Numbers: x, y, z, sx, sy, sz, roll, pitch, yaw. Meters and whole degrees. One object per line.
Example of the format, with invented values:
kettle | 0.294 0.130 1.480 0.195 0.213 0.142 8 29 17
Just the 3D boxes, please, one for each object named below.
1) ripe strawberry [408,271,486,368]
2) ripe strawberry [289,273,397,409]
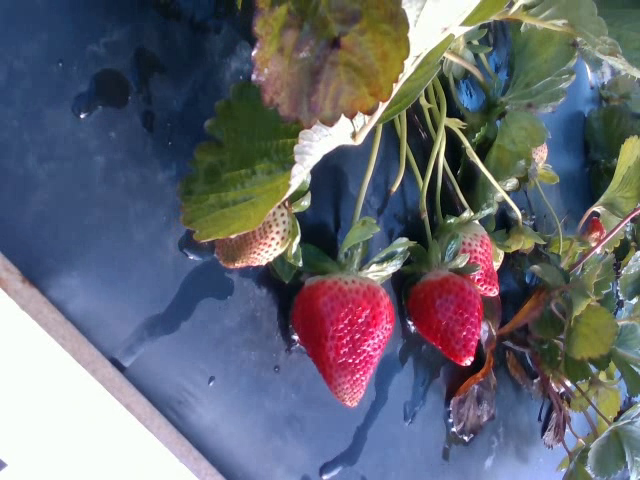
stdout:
ripe strawberry | 0.069 0.045 0.321 0.044 0.055 0.042 -9 -28 -14
ripe strawberry | 0.012 0.043 0.257 0.050 0.065 0.050 14 -40 -21
